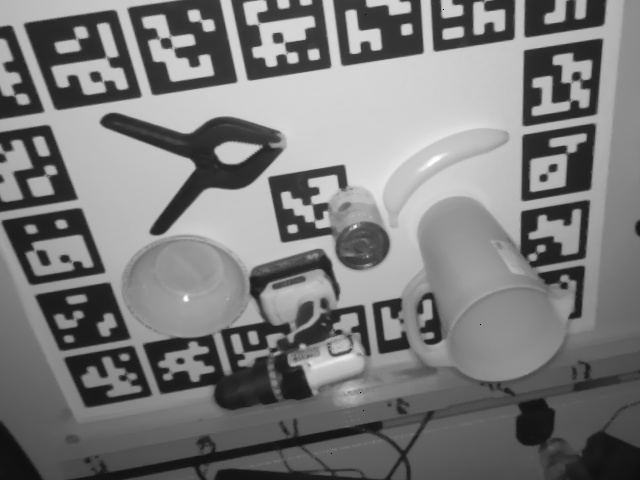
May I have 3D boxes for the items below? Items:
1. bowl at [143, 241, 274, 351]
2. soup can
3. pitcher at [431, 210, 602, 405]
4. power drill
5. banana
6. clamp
[{"bbox_3d":[-0.140,0.061,0.886,0.162,0.055,0.160,-3,117,-5],"label":"bowl"},{"bbox_3d":[0.081,0.003,0.857,0.068,0.102,0.067,-4,127,-5],"label":"soup can"},{"bbox_3d":[0.214,0.072,0.829,0.188,0.243,0.133,-30,120,11],"label":"pitcher"},{"bbox_3d":[-0.018,0.135,0.845,0.185,0.188,0.057,-13,119,2],"label":"power drill"},{"bbox_3d":[0.194,-0.075,0.866,0.196,0.039,0.074,-31,126,12],"label":"banana"},{"bbox_3d":[-0.102,-0.085,0.815,0.203,0.037,0.164,-11,115,-1],"label":"clamp"}]
